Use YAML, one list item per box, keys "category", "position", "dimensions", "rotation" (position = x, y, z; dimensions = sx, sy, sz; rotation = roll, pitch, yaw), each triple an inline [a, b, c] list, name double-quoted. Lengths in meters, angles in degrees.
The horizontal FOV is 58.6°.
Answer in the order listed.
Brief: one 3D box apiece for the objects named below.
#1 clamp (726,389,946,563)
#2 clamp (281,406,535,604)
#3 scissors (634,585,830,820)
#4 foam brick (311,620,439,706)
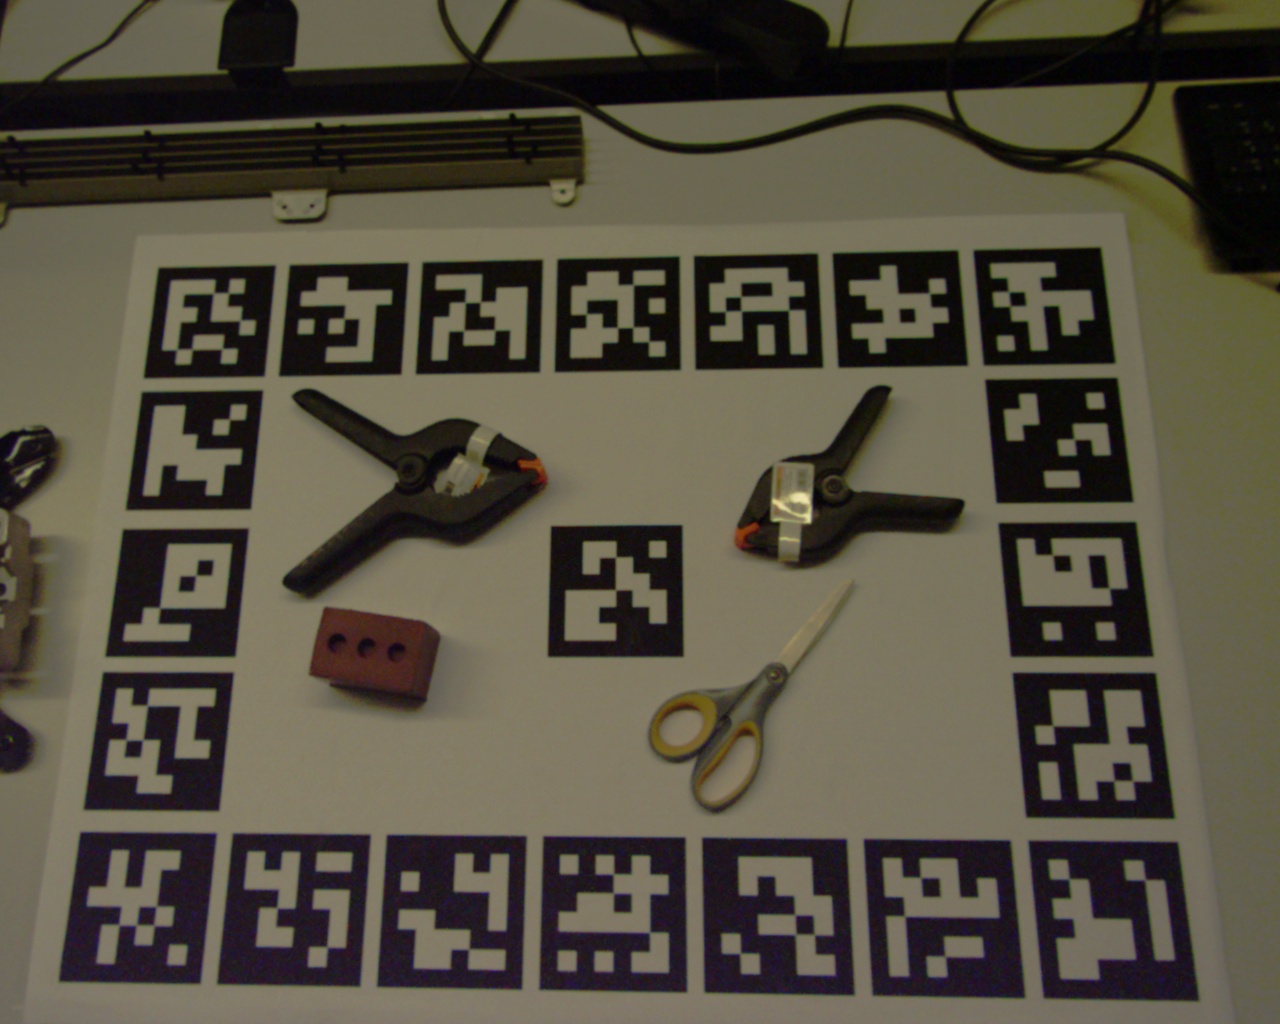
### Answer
- category: "clamp"
  position: [0.141, -0.011, 0.894]
  dimensions: [0.165, 0.036, 0.122]
  rotation: [-28, 82, -4]
- category: "clamp"
  position: [-0.185, -0.015, 0.912]
  dimensions: [0.203, 0.036, 0.166]
  rotation: [-5, 72, 1]
- category: "scissors"
  position: [0.080, 0.132, 0.862]
  dimensions: [0.088, 0.016, 0.202]
  rotation: [39, 79, 5]
- category: "foam brick"
  position: [-0.202, 0.116, 0.871]
  dimensions: [0.078, 0.051, 0.053]
  rotation: [6, 77, 9]
